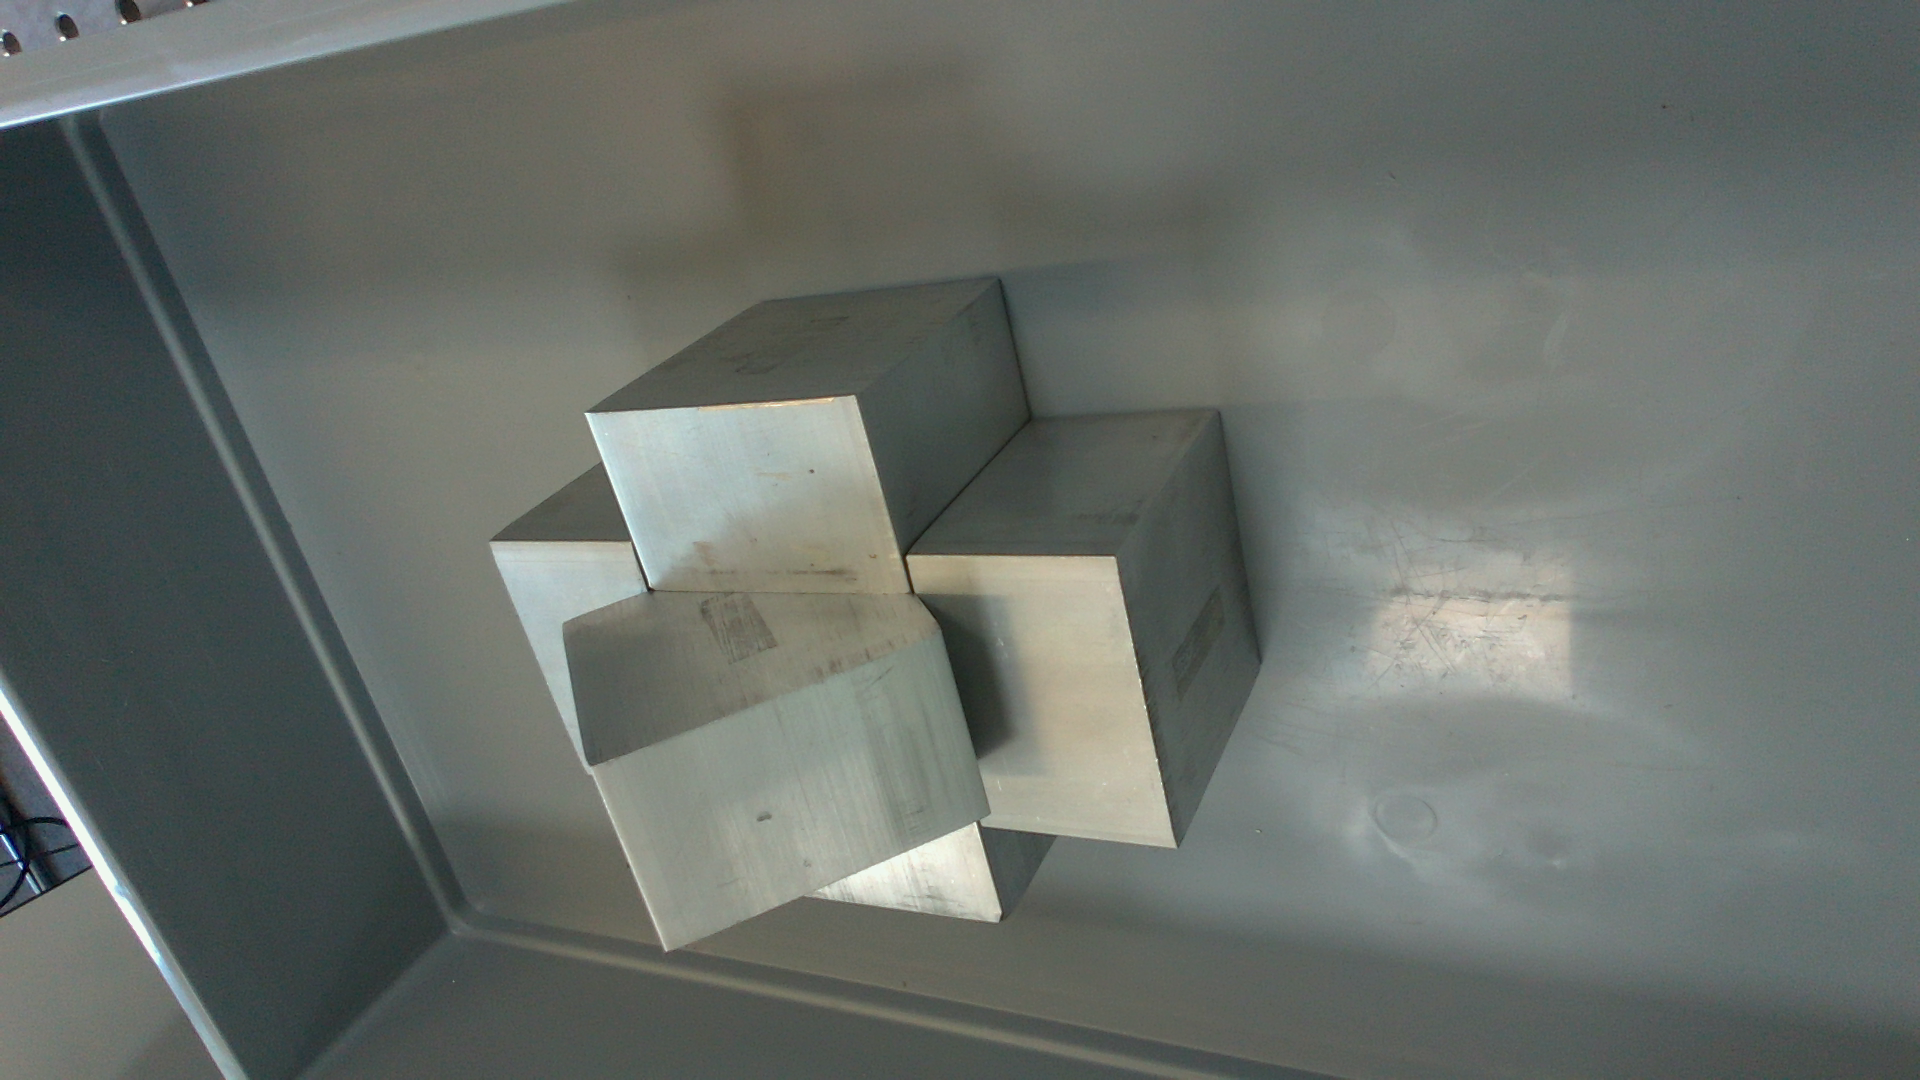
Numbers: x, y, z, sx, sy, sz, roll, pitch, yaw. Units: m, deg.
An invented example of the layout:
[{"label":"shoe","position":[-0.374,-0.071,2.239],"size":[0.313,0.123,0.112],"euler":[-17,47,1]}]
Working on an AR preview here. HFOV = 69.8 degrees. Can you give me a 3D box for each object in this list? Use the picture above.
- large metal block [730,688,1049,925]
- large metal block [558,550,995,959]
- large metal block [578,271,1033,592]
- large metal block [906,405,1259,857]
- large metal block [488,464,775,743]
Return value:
[{"label":"large metal block","position":[-0.012,0.060,0.400],"size":[0.080,0.080,0.050],"euler":[0,118,28]},{"label":"large metal block","position":[-0.047,0.043,0.335],"size":[0.080,0.080,0.050],"euler":[-20,115,-12]},{"label":"large metal block","position":[-0.035,-0.029,0.357],"size":[0.080,0.080,0.050],"euler":[0,118,28]},{"label":"large metal block","position":[0.036,0.020,0.347],"size":[0.050,0.080,0.080],"euler":[0,118,28]},{"label":"large metal block","position":[-0.080,0.016,0.410],"size":[0.050,0.080,0.080],"euler":[0,118,28]}]
